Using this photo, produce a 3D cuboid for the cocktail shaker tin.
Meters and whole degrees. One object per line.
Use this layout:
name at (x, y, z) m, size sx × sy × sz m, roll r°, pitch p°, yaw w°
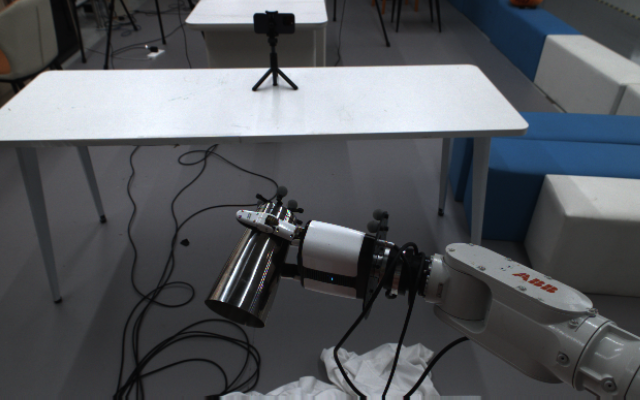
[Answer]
cocktail shaker tin at (-0.094, 0.088, 0.719) m, size 0.093 × 0.093 × 0.170 m, roll 13°, pitch 59°, yaw 16°
